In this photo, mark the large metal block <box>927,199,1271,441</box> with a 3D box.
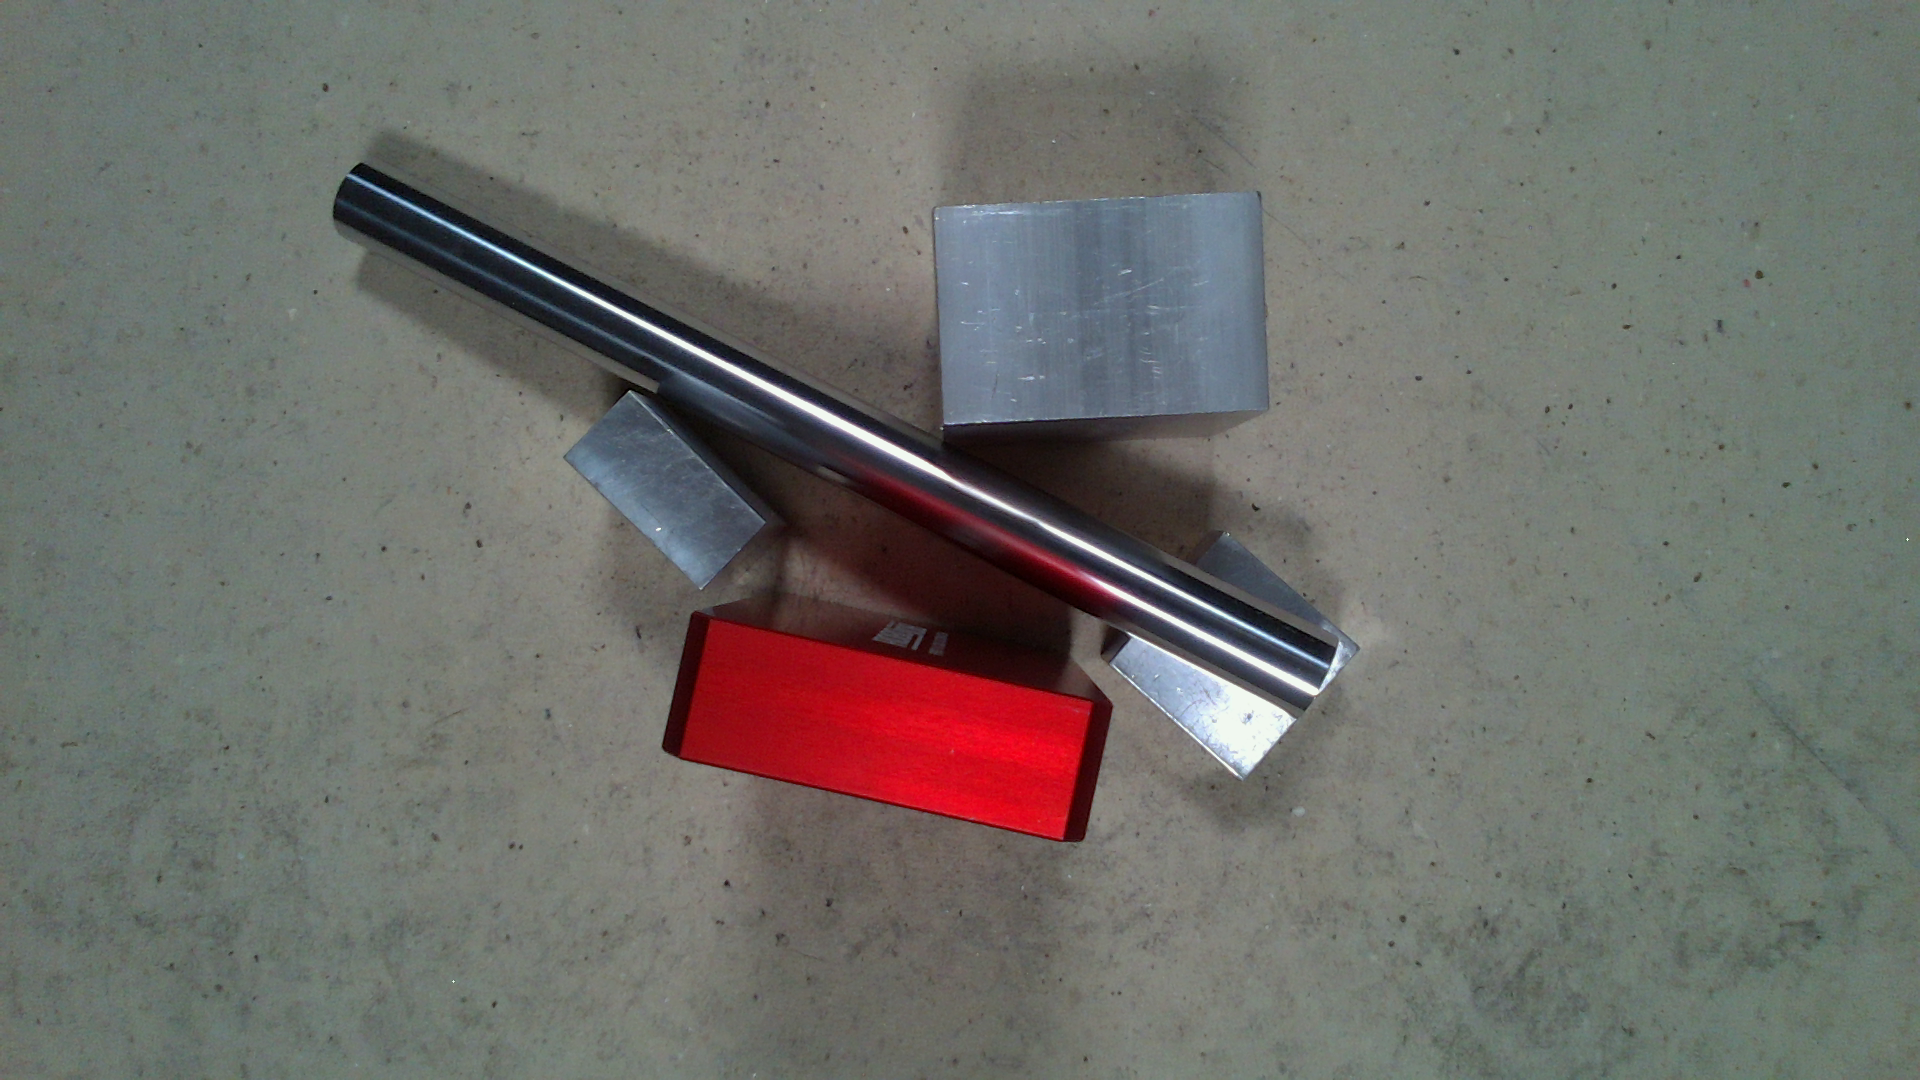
[{"bbox_3d":[0.033,-0.055,0.367,0.080,0.080,0.050,-2,90,0],"label":"large metal block"}]

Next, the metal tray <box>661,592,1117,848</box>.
[{"bbox_3d":[-0.014,0.039,0.343,0.090,0.130,0.030,12,90,0],"label":"metal tray"}]

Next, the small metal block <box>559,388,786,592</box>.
[{"bbox_3d":[-0.077,-0.013,0.382,0.050,0.050,0.025,45,90,0],"label":"small metal block"}]

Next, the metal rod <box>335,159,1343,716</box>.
[{"bbox_3d":[-0.037,-0.031,0.381,0.300,0.025,0.025,26,90,5],"label":"metal rod"}]

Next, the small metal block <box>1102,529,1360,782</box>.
[{"bbox_3d":[0.076,0.032,0.396,0.050,0.025,0.050,41,90,0],"label":"small metal block"}]
